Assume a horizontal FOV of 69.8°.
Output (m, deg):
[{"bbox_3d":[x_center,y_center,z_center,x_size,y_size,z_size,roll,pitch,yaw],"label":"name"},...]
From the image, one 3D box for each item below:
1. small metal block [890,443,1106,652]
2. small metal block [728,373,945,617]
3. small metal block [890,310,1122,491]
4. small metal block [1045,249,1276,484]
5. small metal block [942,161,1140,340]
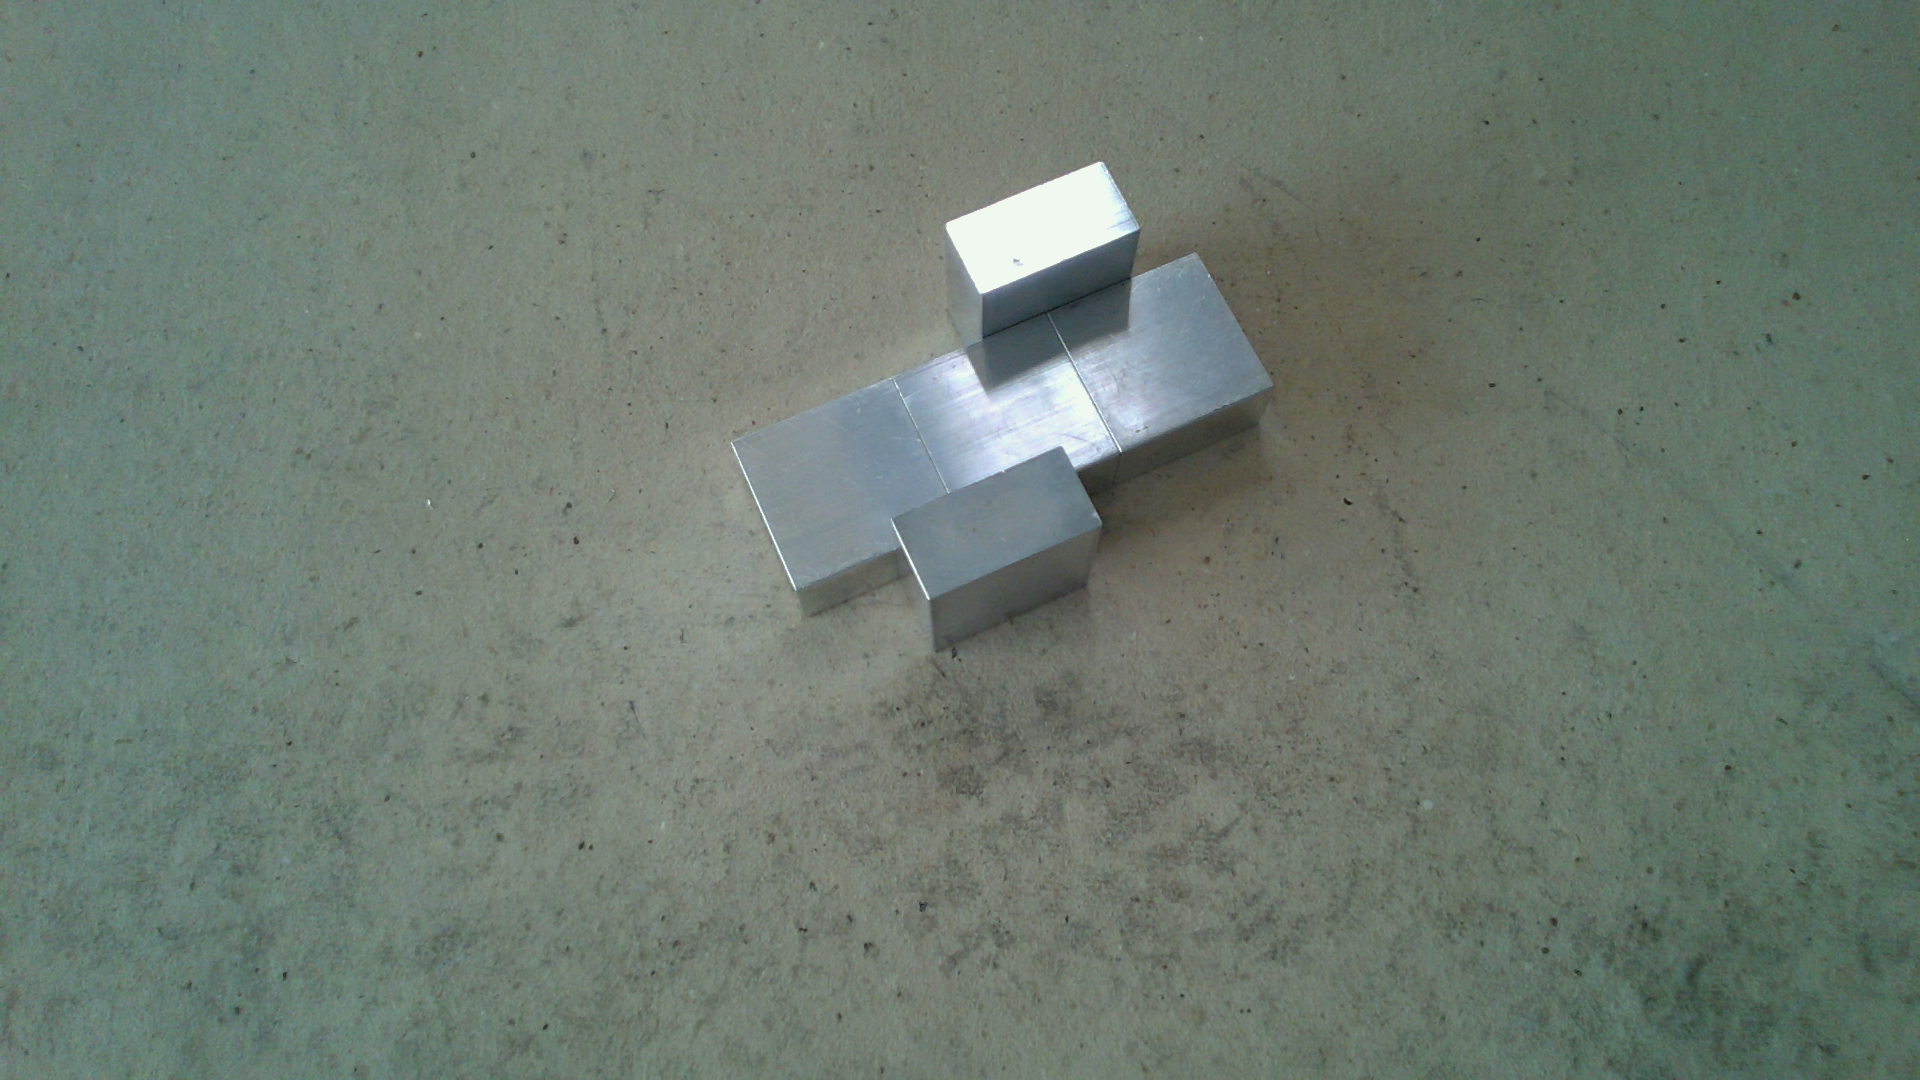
[{"bbox_3d":[0.010,0.003,0.381,0.050,0.050,0.025,-24,71,-8],"label":"small metal block"},{"bbox_3d":[-0.033,-0.013,0.399,0.050,0.025,0.050,-23,72,-8],"label":"small metal block"},{"bbox_3d":[0.013,-0.033,0.407,0.050,0.025,0.050,-23,72,-8],"label":"small metal block"},{"bbox_3d":[0.058,-0.052,0.414,0.050,0.025,0.050,-23,72,-8],"label":"small metal block"},{"bbox_3d":[0.023,-0.080,0.411,0.050,0.050,0.025,-23,72,-7],"label":"small metal block"}]
